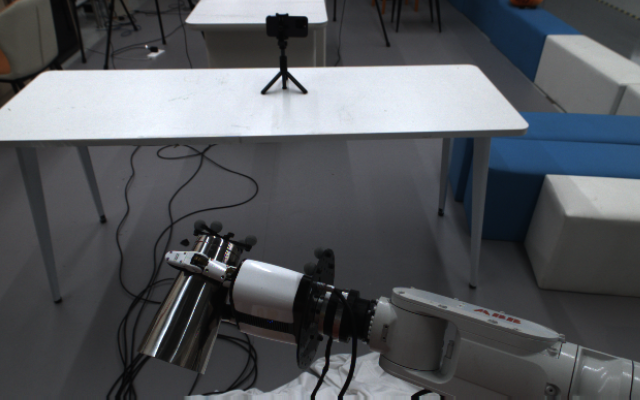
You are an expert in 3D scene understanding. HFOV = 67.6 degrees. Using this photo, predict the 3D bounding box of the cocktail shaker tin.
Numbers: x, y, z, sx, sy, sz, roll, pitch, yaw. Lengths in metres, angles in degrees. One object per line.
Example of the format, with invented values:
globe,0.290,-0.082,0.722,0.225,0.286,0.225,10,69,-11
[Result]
cocktail shaker tin,-0.166,0.135,0.658,0.093,0.093,0.170,13,65,15
